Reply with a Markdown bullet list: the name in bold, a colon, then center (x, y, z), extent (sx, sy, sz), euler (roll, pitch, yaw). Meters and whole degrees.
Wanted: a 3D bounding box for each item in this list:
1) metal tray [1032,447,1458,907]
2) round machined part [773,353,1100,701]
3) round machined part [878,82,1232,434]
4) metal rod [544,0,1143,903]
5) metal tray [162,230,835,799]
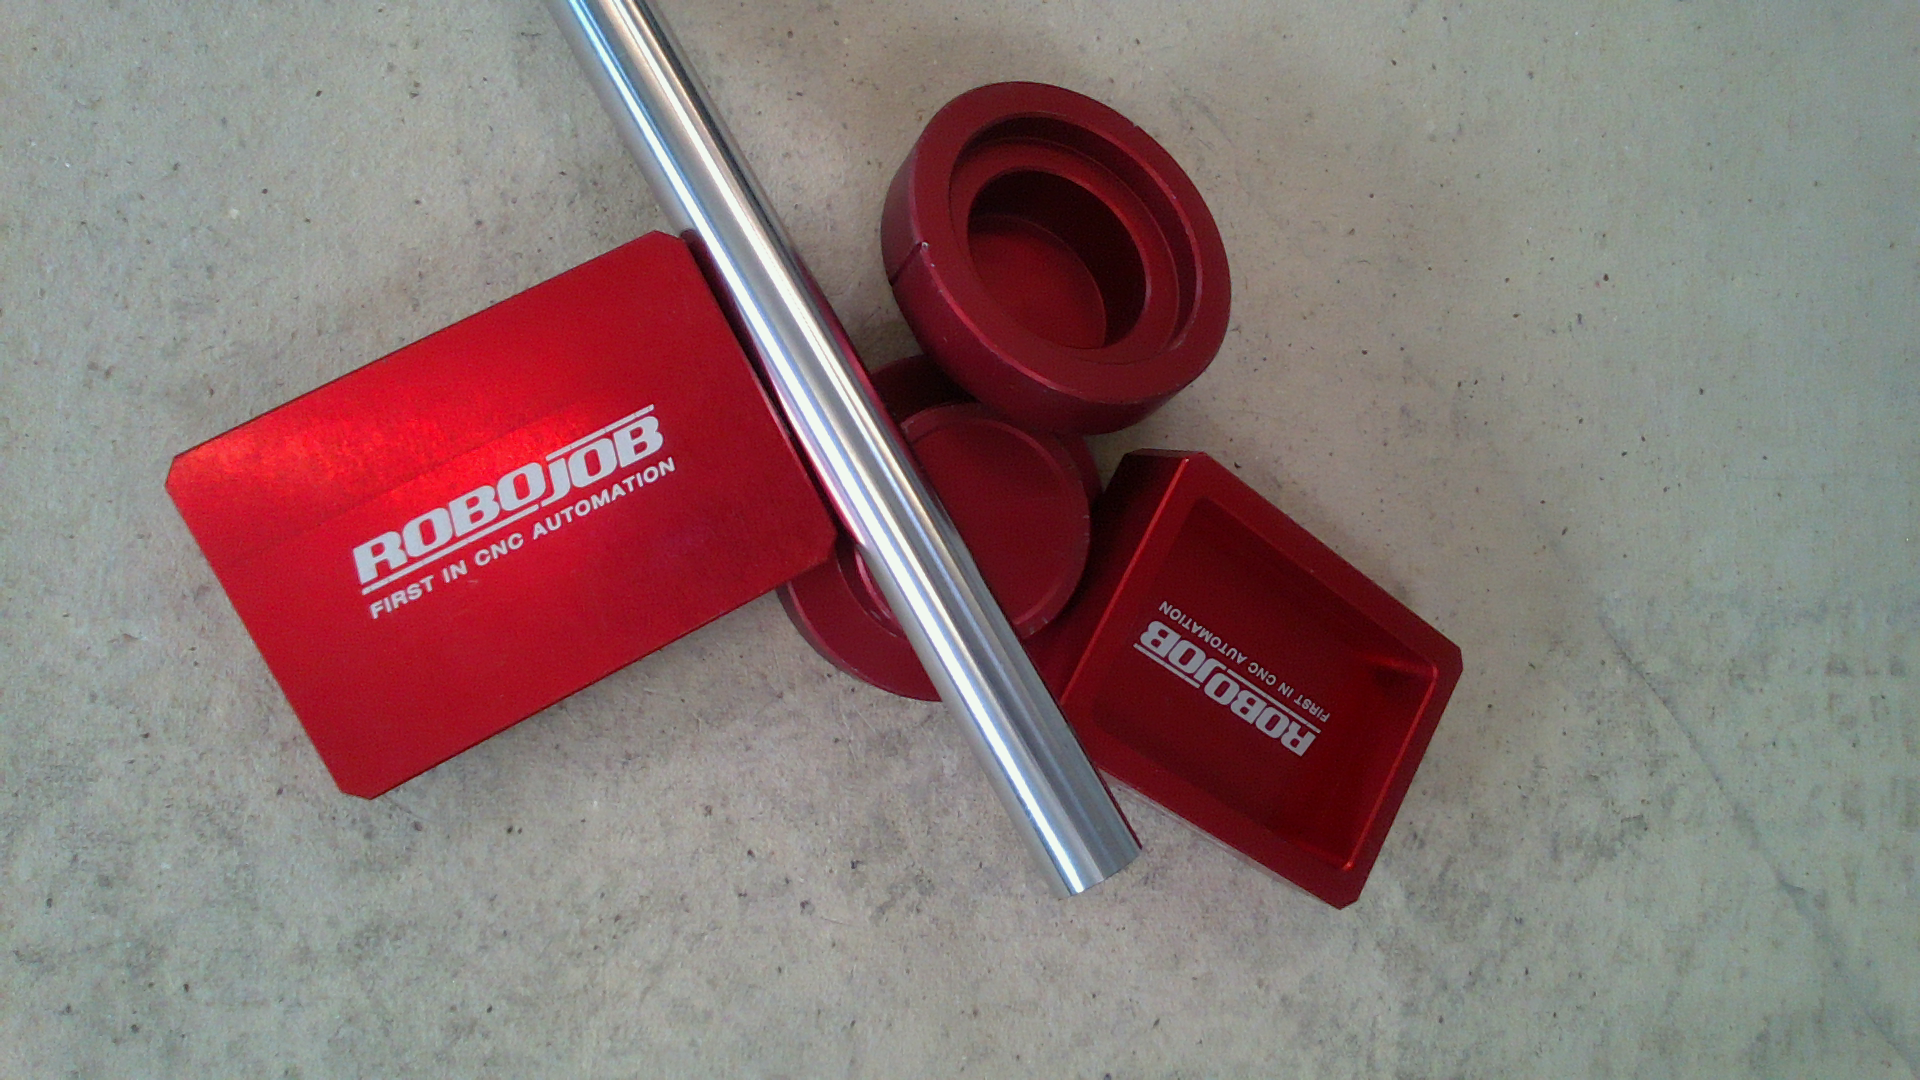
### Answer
- **metal tray**: center (0.084, 0.042, 0.410), extent (0.130, 0.030, 0.090), euler (33, 79, -28)
- **round machined part**: center (-0.003, -0.004, 0.384), extent (0.098, 0.042, 0.098), euler (0, 90, -20)
- **round machined part**: center (0.023, -0.073, 0.381), extent (0.098, 0.042, 0.098), euler (11, 64, -22)
- **metal rod**: center (-0.041, -0.048, 0.343), extent (0.025, 0.025, 0.300), euler (-29, 87, -18)
- **metal tray**: center (-0.108, -0.007, 0.340), extent (0.130, 0.030, 0.090), euler (-28, 97, -9)
